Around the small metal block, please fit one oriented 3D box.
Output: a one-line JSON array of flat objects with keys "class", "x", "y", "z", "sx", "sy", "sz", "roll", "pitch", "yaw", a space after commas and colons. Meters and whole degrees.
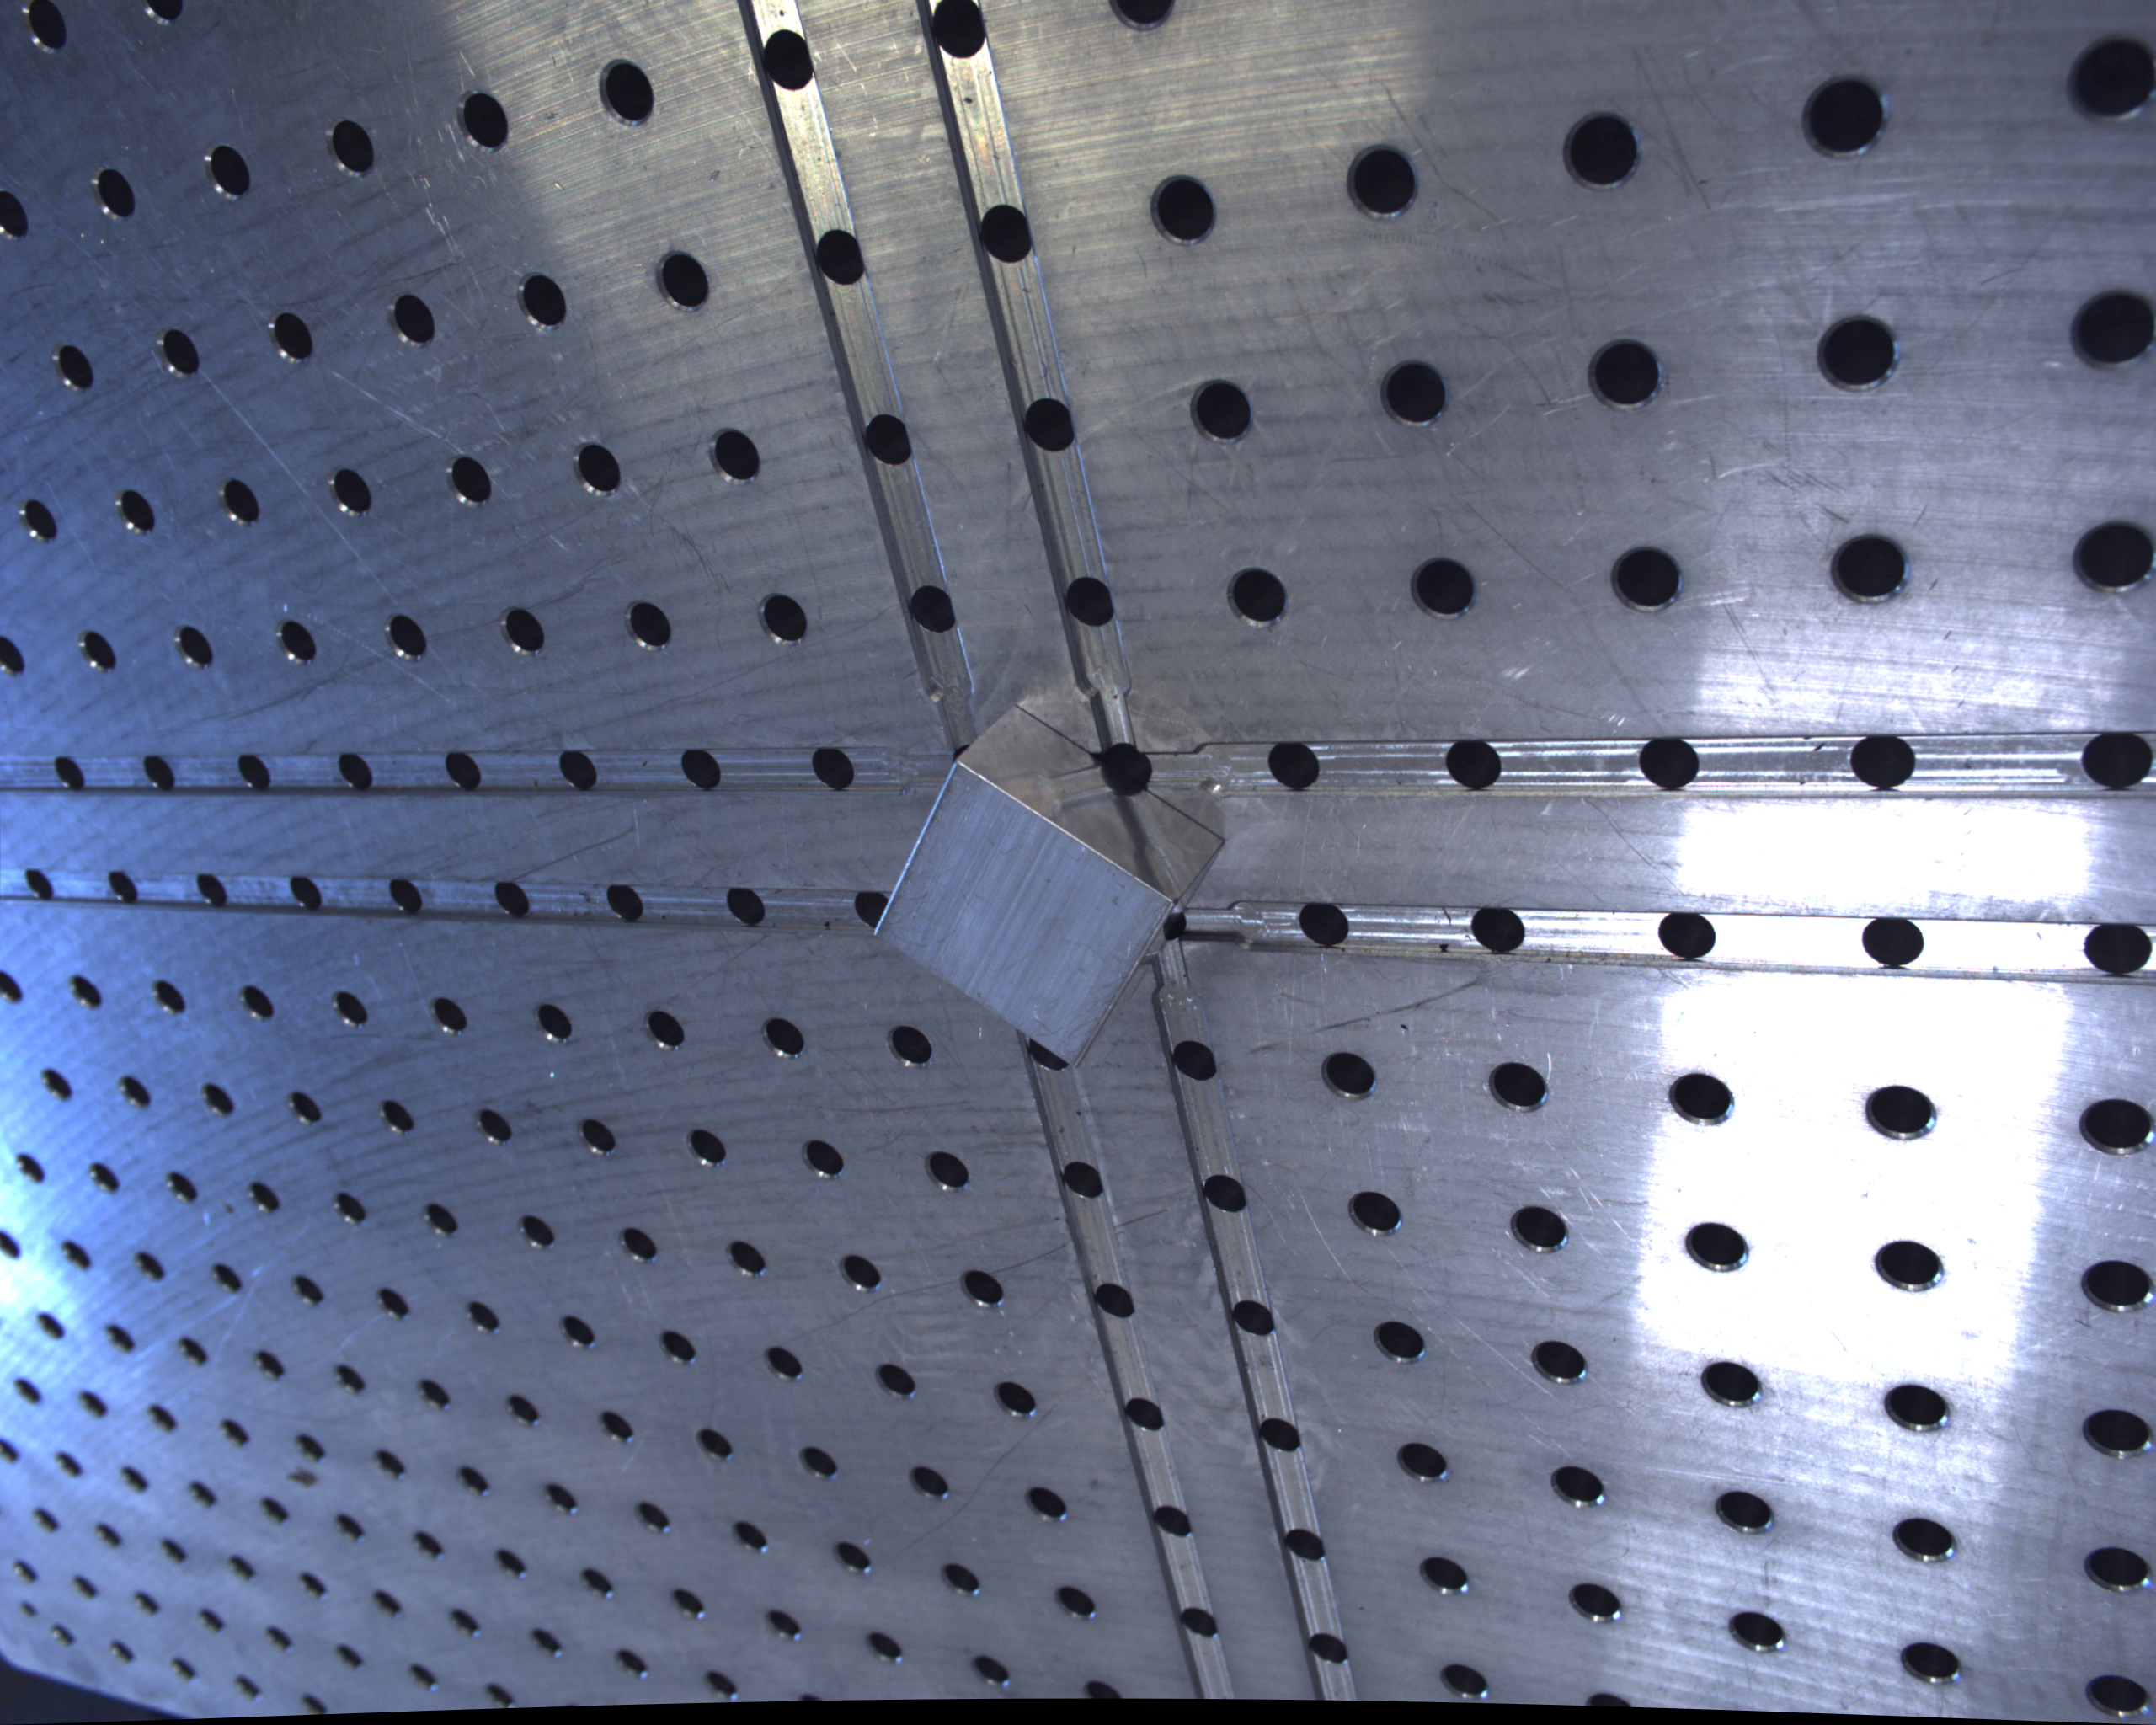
[{"class": "small metal block", "x": -0.007, "y": 0.005, "z": 0.418, "sx": 0.050, "sy": 0.025, "sz": 0.050, "roll": 33, "pitch": 129, "yaw": 6}]
